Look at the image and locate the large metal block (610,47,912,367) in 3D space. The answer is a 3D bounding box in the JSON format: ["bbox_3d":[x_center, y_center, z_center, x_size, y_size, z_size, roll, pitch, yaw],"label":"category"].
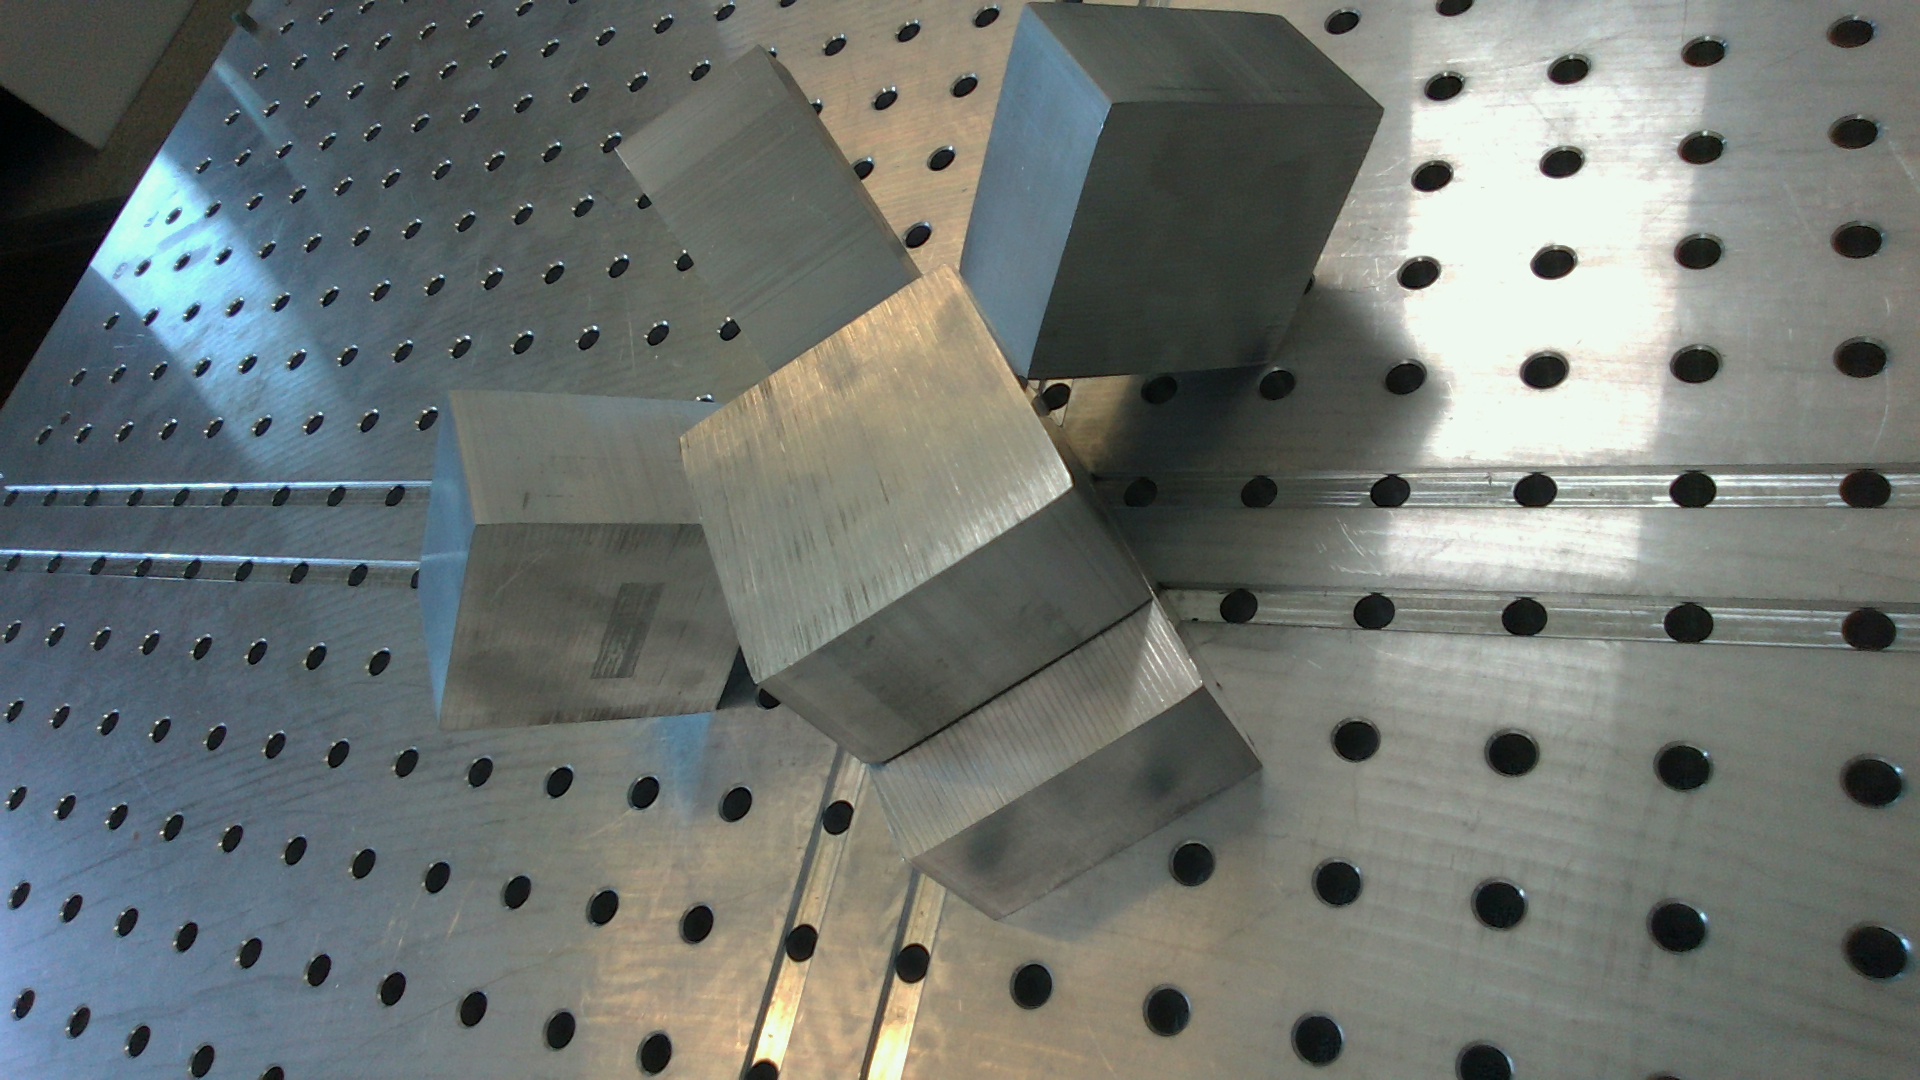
[{"bbox_3d":[-0.057,-0.101,0.434,0.050,0.080,0.080,-33,12,7],"label":"large metal block"}]

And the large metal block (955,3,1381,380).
[{"bbox_3d":[0.052,-0.093,0.370,0.080,0.080,0.050,-7,47,-24],"label":"large metal block"}]

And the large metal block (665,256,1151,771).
[{"bbox_3d":[-0.014,-0.006,0.326,0.080,0.050,0.080,-32,52,6],"label":"large metal block"}]

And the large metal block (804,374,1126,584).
[{"bbox_3d":[-0.011,-0.021,0.399,0.080,0.050,0.080,-33,51,7],"label":"large metal block"}]

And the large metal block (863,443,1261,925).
[{"bbox_3d":[0.016,0.036,0.348,0.080,0.050,0.080,-31,50,7],"label":"large metal block"}]

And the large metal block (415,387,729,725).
[{"bbox_3d":[-0.108,0.006,0.396,0.050,0.080,0.080,62,140,39],"label":"large metal block"}]
